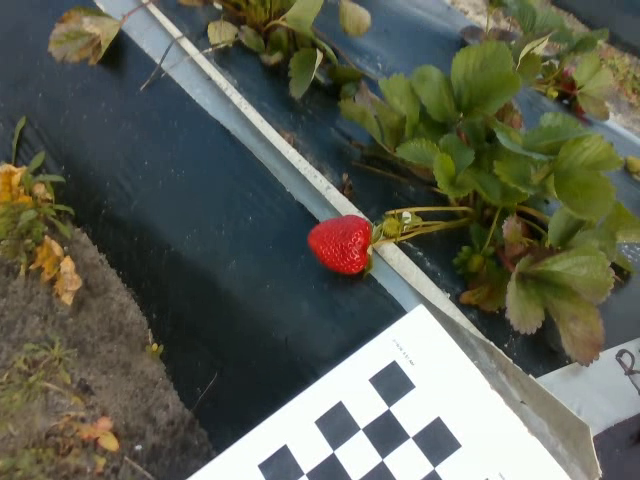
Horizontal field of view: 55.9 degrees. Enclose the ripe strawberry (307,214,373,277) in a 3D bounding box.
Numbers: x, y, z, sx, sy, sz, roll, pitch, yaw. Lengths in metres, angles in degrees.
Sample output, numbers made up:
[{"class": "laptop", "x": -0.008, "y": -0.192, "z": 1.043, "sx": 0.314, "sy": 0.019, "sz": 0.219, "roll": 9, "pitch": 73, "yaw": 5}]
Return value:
[{"class": "ripe strawberry", "x": 0.012, "y": 0.002, "z": 0.406, "sx": 0.052, "sy": 0.048, "sz": 0.030, "roll": 10, "pitch": -25, "yaw": -13}]
